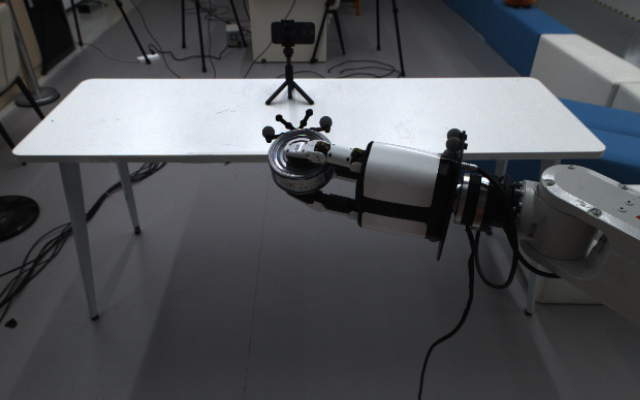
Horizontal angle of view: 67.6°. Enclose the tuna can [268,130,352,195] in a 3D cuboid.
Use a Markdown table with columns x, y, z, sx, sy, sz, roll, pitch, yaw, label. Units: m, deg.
| x | y | z | sx | sy | sz | roll | pitch | yaw | label |
| --- | --- | --- | --- | --- | --- | --- | --- | --- | --- |
| -0.020 | -0.046 | 0.628 | 0.085 | 0.034 | 0.085 | -3 | 58 | 5 | tuna can |
